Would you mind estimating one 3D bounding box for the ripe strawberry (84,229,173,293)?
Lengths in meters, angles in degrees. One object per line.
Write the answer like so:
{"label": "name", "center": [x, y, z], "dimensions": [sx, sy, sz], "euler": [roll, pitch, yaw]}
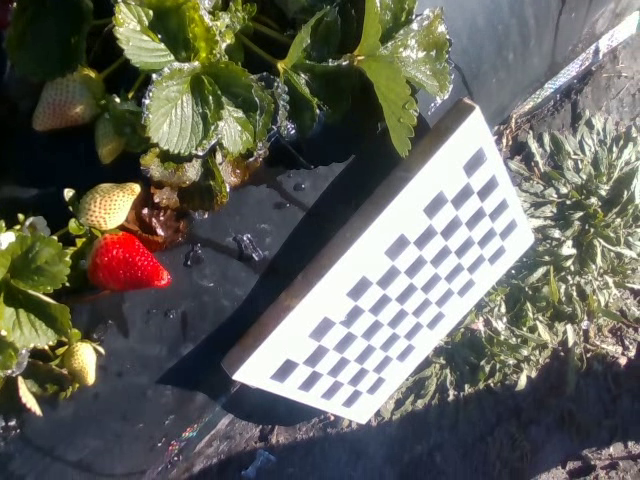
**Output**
{"label": "ripe strawberry", "center": [-0.109, 0.017, 0.367], "dimensions": [0.053, 0.040, 0.042], "euler": [23, 28, 15]}
